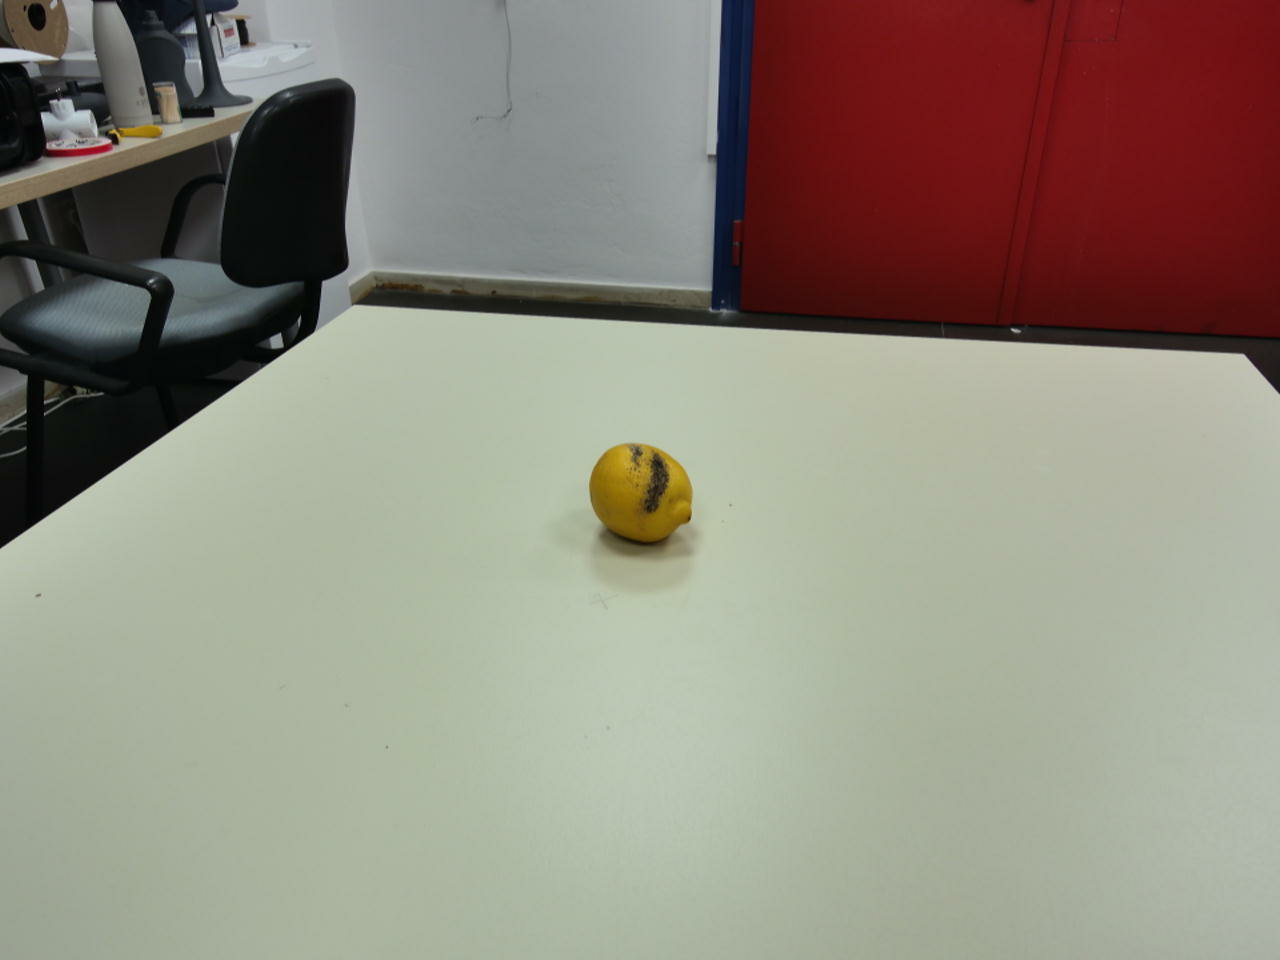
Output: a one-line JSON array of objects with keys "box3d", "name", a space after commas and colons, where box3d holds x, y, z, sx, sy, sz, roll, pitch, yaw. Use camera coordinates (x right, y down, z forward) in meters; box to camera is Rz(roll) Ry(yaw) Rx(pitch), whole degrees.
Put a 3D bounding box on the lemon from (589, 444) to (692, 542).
[{"box3d": [0.001, 0.007, 0.589, 0.061, 0.056, 0.058, 1, 26, 4], "name": "lemon"}]
